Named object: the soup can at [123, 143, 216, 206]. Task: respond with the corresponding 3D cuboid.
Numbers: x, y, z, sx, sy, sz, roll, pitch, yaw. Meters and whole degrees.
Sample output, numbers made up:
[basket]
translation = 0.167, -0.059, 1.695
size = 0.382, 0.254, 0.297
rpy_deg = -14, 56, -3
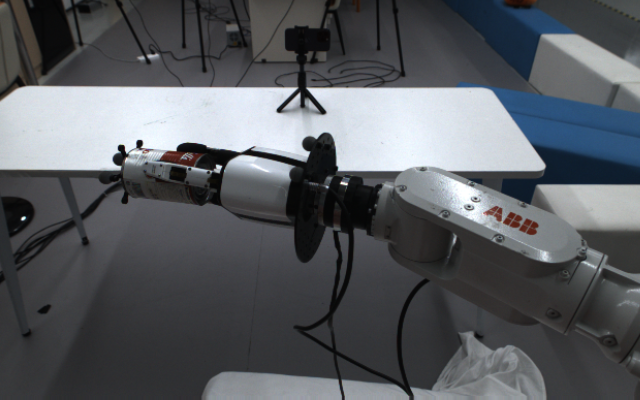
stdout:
[soup can]
translation = -0.194, -0.030, 0.631
size = 0.101, 0.067, 0.067
rpy_deg = 6, 35, 12
